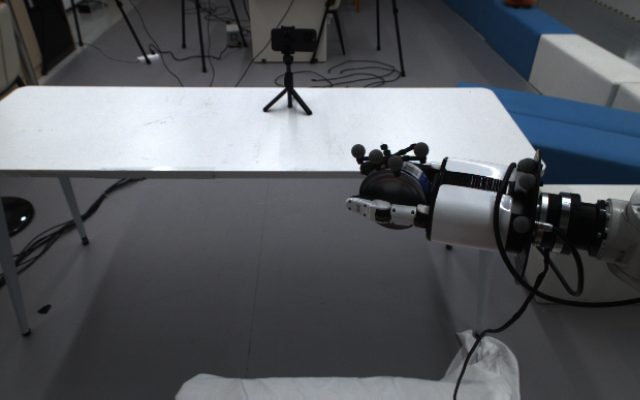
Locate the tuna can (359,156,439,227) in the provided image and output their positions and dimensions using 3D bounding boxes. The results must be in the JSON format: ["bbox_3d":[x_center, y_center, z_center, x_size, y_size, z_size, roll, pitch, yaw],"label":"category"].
[{"bbox_3d":[0.097,-0.010,0.605,0.085,0.085,0.034,17,37,20],"label":"tuna can"}]
